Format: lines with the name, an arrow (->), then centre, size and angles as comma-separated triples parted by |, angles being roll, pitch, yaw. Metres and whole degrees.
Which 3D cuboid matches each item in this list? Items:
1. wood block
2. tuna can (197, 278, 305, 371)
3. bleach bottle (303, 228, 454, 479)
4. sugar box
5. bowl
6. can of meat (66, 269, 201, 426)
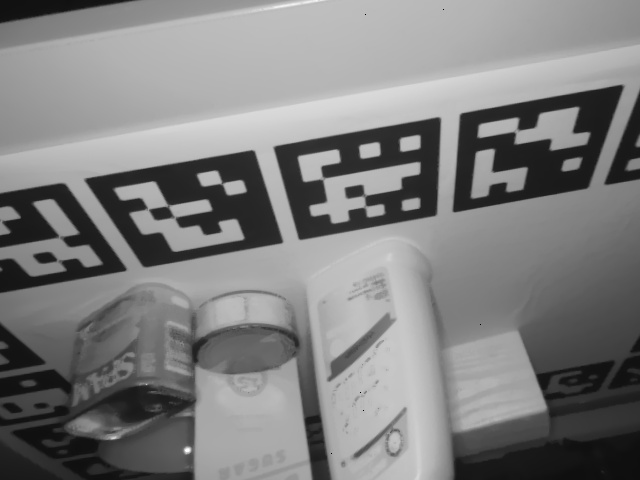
wood block -> 0.125, 0.176, 0.695 | 0.205, 0.090, 0.091 | -16, 136, 8
tuna can -> -0.057, 0.069, 0.564 | 0.086, 0.034, 0.085 | -6, 137, -5
bleach bottle -> 0.051, 0.116, 0.479 | 0.101, 0.252, 0.068 | -27, 138, 20
sugar box -> -0.062, 0.165, 0.565 | 0.094, 0.177, 0.044 | 2, 137, -18
bowl -> -0.138, 0.183, 0.668 | 0.162, 0.055, 0.160 | -9, 140, -7
can of meat -> -0.142, 0.082, 0.532 | 0.100, 0.084, 0.058 | -30, 139, 24
